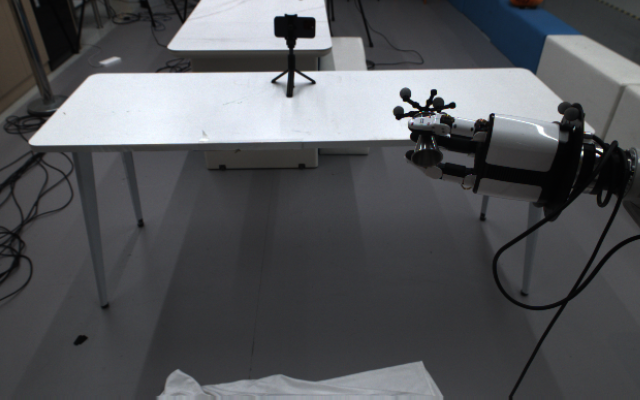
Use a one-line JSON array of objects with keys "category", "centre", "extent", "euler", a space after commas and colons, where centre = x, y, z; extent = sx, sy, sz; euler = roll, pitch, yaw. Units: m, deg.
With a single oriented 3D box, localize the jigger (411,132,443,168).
[{"category": "jigger", "centre": [0.150, -0.090, 0.687], "extent": [0.043, 0.043, 0.071], "euler": [4, 61, 2]}]
